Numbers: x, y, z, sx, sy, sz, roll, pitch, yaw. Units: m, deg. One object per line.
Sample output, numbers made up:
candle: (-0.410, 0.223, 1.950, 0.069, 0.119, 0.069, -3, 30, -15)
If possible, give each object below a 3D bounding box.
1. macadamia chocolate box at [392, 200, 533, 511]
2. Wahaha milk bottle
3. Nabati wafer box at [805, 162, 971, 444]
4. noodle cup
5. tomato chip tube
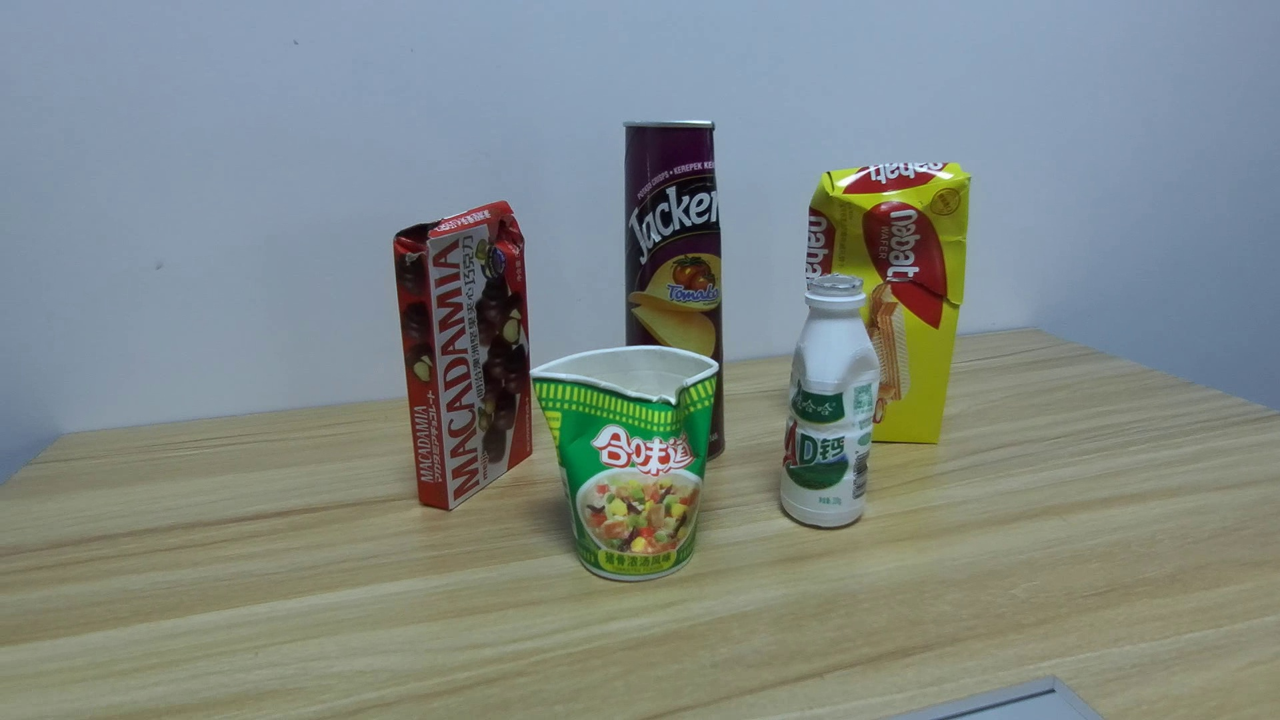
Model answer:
macadamia chocolate box: (-0.109, -0.005, 0.468, 0.027, 0.187, 0.103, 12, 23, 24)
Wahaha milk bottle: (0.111, 0.025, 0.420, 0.055, 0.149, 0.055, -1, 19, 1)
Nabati wafer box: (0.176, -0.038, 0.518, 0.107, 0.204, 0.042, 0, 20, 6)
noodle cup: (-0.001, 0.056, 0.395, 0.082, 0.122, 0.075, 2, 10, 38)
tomato chip tube: (0.025, -0.046, 0.502, 0.076, 0.235, 0.078, 4, 18, 16)
